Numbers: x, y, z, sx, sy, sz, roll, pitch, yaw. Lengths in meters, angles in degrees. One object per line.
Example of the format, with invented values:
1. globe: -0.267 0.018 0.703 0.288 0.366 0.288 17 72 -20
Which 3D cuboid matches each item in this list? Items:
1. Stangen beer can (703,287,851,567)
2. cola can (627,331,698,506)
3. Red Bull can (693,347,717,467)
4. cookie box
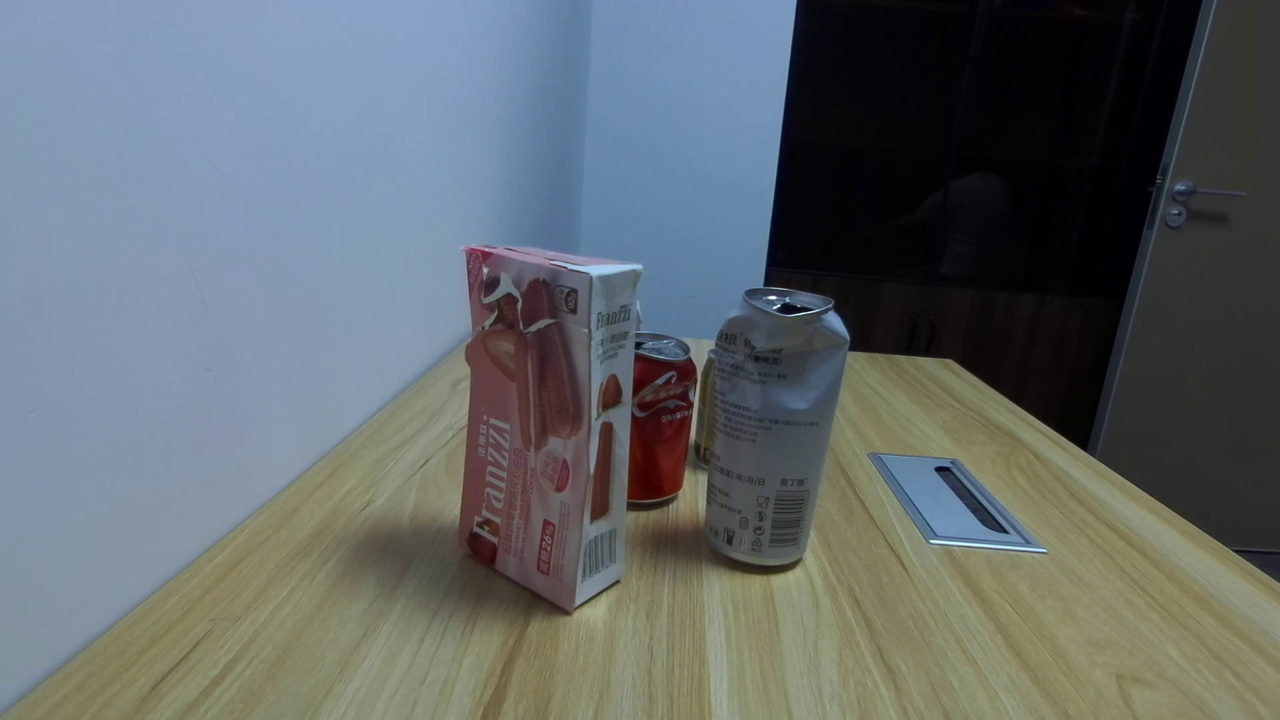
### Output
1. Stangen beer can: 0.080 0.043 0.433 0.066 0.166 0.065 -3 18 -25
2. cola can: 0.004 0.040 0.517 0.072 0.117 0.065 -10 22 -37
3. Red Bull can: 0.082 0.044 0.579 0.067 0.093 0.067 5 9 -1
4. cookie box: -0.054 0.034 0.393 0.104 0.186 0.060 16 18 37
